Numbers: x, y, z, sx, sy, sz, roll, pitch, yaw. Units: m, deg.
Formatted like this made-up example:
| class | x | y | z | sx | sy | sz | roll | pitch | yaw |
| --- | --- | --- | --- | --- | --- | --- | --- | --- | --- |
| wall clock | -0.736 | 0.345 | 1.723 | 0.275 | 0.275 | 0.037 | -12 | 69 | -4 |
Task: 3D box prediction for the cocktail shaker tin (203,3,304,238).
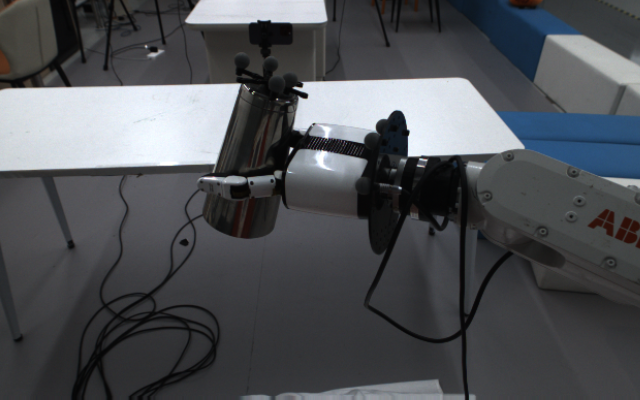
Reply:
| class | x | y | z | sx | sy | sz | roll | pitch | yaw |
| --- | --- | --- | --- | --- | --- | --- | --- | --- | --- |
| cocktail shaker tin | -0.077 | -0.052 | 0.574 | 0.093 | 0.170 | 0.093 | 15 | 27 | -8 |
